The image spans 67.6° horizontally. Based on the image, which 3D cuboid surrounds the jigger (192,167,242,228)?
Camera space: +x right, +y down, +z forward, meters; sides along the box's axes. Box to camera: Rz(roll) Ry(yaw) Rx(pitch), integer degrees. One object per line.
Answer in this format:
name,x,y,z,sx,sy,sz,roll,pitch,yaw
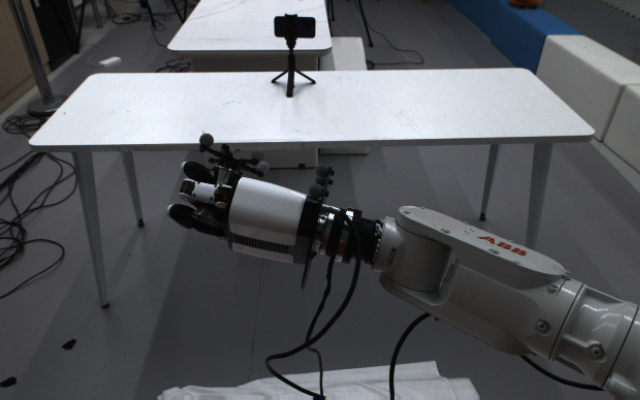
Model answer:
jigger,-0.125,-0.003,0.609,0.043,0.043,0.071,12,71,14
